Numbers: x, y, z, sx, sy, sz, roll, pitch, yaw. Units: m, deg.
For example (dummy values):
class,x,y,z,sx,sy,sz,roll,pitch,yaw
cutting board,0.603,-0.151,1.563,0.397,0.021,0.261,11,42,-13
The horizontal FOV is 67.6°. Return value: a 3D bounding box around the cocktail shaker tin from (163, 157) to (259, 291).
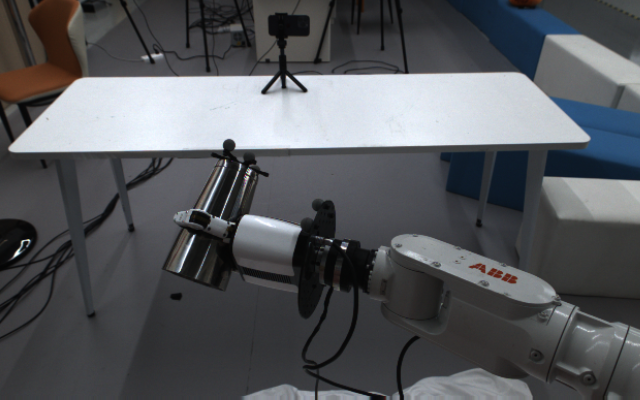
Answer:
class,x,y,z,sx,sy,sz,roll,pitch,yaw
cocktail shaker tin,-0.145,0.034,0.683,0.093,0.093,0.170,14,73,16
